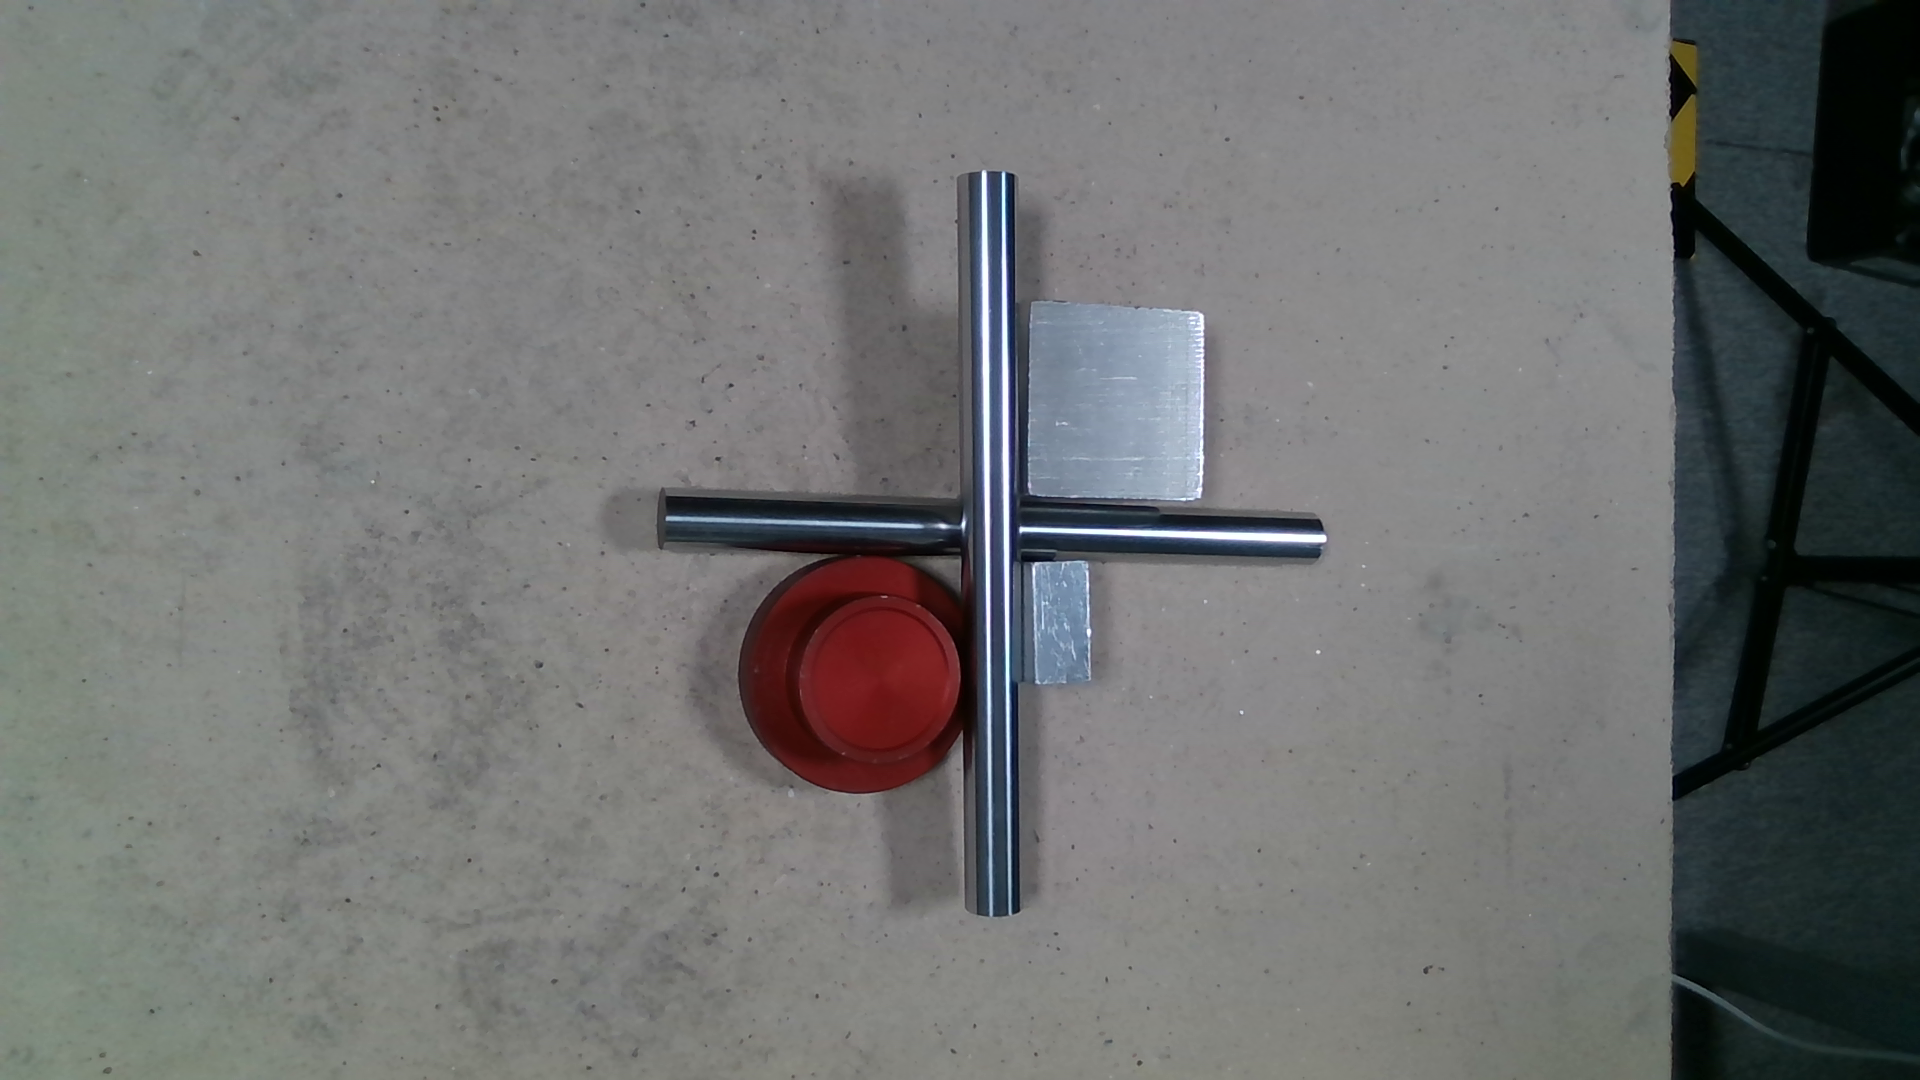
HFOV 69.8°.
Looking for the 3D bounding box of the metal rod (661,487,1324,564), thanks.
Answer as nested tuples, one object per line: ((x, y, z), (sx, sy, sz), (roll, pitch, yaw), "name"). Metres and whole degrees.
((0.023, -0.004, 0.594), (0.300, 0.025, 0.025), (2, 89, -20), "metal rod")

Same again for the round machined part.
((-0.038, 0.055, 0.562), (0.098, 0.042, 0.098), (0, 90, -20), "round machined part")

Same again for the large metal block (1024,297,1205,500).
((0.057, -0.058, 0.593), (0.080, 0.050, 0.080), (1, 90, -20), "large metal block")

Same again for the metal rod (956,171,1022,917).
((0.012, 0.004, 0.564), (0.025, 0.025, 0.300), (-2, 95, -20), "metal rod")

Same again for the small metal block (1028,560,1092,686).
((0.033, 0.034, 0.585), (0.025, 0.050, 0.050), (-2, 91, -20), "small metal block")
